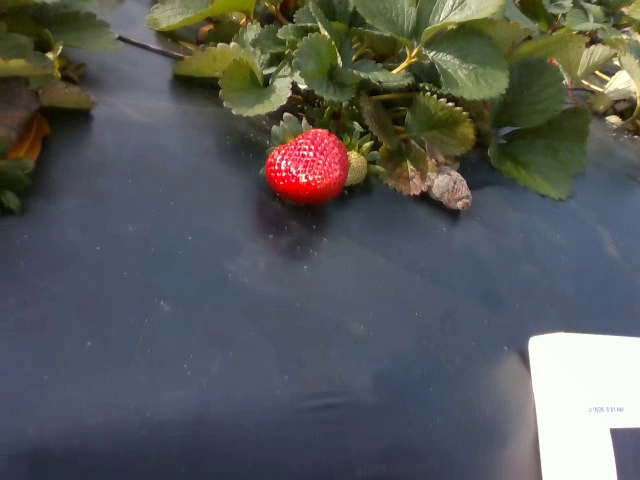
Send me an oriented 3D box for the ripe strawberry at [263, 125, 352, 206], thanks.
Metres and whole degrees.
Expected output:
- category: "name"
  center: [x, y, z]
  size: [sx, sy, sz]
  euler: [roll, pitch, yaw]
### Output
- category: "ripe strawberry"
  center: [-0.004, -0.033, 0.278]
  size: [0.045, 0.051, 0.058]
  euler: [11, 21, -24]
